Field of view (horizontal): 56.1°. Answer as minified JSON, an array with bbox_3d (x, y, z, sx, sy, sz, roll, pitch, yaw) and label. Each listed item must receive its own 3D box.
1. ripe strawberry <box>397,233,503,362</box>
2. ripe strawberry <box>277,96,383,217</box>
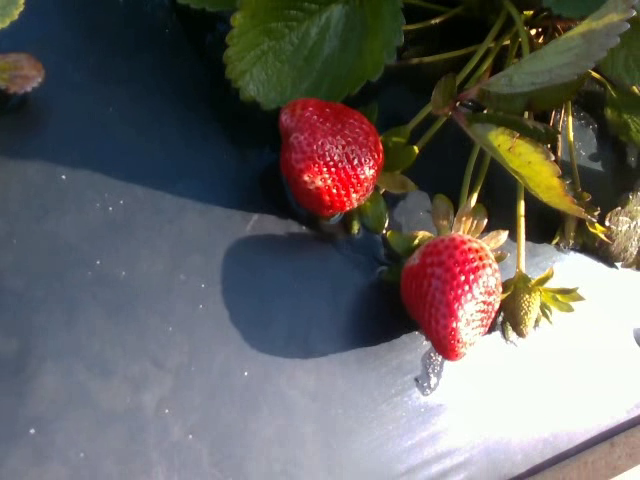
[{"bbox_3d":[0.049,0.021,0.210,0.043,0.053,0.039,38,-52,-25],"label":"ripe strawberry"},{"bbox_3d":[0.003,-0.031,0.220,0.039,0.048,0.054,9,1,39],"label":"ripe strawberry"}]
